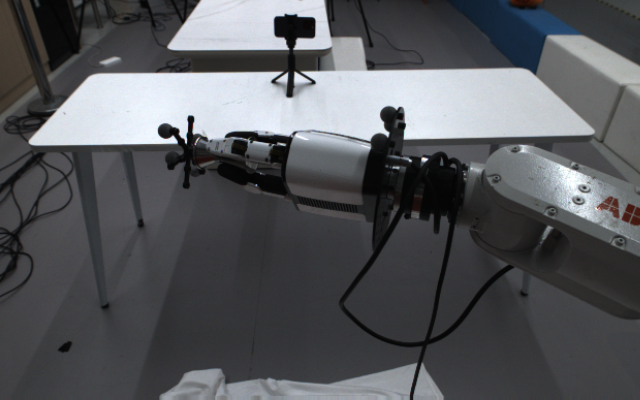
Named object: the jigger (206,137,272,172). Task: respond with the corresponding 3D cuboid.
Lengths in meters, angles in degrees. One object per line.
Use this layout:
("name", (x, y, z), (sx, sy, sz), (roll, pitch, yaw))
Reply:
("jigger", (-0.104, -0.059, 0.580), (0.071, 0.043, 0.043), (3, 34, 15))
